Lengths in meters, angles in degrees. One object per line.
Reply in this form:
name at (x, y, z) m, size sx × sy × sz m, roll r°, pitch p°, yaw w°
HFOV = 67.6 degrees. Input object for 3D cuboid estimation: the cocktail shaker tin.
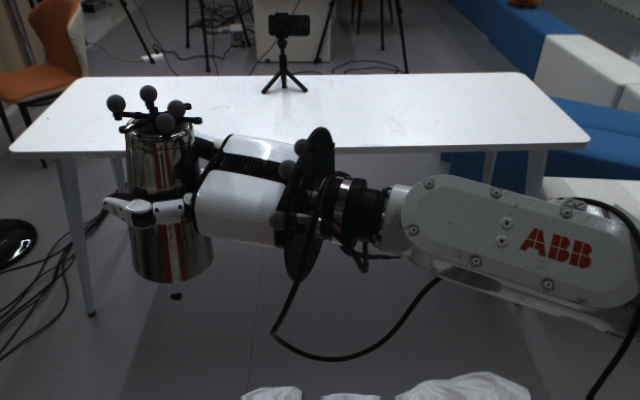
cocktail shaker tin at (-0.166, -0.003, 0.530) m, size 0.093 × 0.170 × 0.093 m, roll 3°, pitch 32°, yaw -2°
